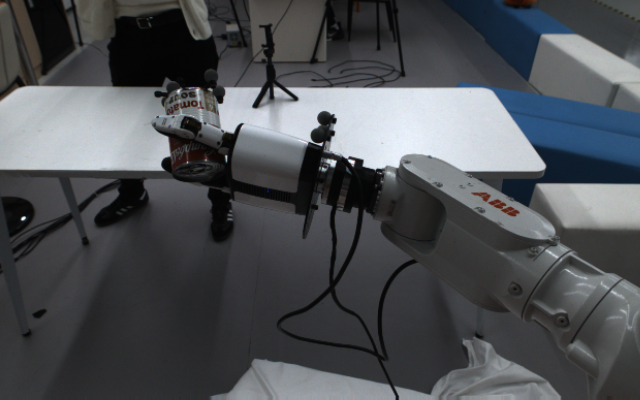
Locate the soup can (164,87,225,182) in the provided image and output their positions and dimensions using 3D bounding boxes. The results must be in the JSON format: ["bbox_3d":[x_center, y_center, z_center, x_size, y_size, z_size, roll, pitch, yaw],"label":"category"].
[{"bbox_3d":[-0.156,-0.081,0.610,0.067,0.067,0.101,-8,74,-14],"label":"soup can"}]
